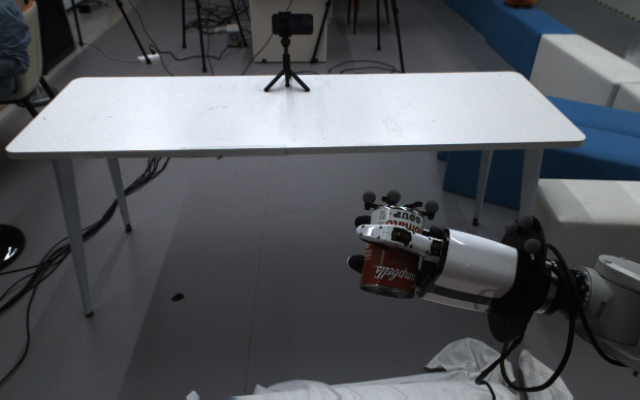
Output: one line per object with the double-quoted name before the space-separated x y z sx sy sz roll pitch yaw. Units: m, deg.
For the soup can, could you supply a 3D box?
"soup can" 0.091 0.064 0.596 0.067 0.067 0.101 8 72 9
